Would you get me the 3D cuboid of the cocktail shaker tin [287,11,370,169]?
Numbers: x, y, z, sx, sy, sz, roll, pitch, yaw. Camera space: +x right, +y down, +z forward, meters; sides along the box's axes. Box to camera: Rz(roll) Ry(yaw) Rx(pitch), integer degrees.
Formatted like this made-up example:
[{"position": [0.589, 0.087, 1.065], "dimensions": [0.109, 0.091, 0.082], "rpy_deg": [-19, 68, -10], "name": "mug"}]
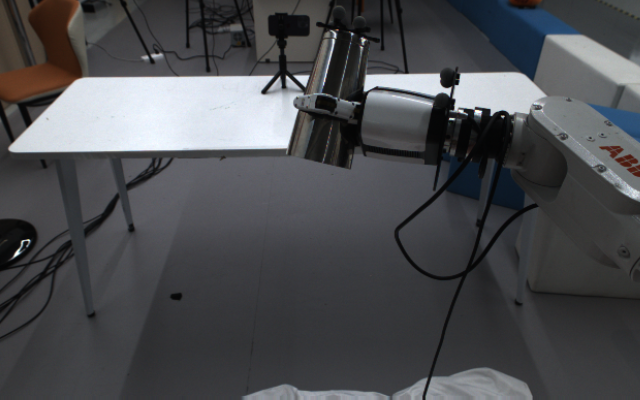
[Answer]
[{"position": [0.018, -0.135, 0.656], "dimensions": [0.093, 0.170, 0.093], "rpy_deg": [13, 4, -1], "name": "cocktail shaker tin"}]
